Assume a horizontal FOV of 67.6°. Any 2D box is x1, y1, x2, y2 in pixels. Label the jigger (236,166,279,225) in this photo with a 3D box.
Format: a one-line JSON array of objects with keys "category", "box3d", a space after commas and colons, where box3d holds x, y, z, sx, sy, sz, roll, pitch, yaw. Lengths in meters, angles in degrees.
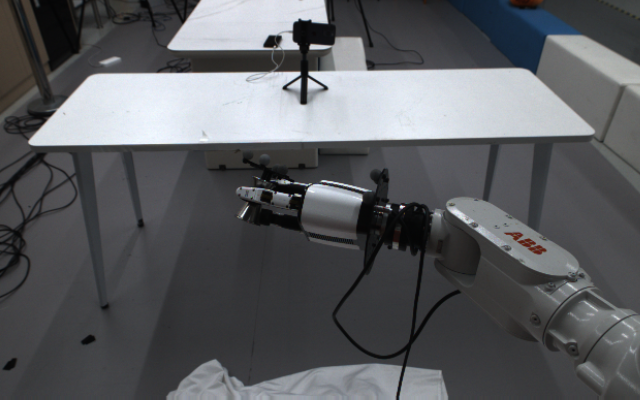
[{"category": "jigger", "box3d": [-0.101, 0.000, 0.745, 0.043, 0.071, 0.043, 24, -2, 1]}]
